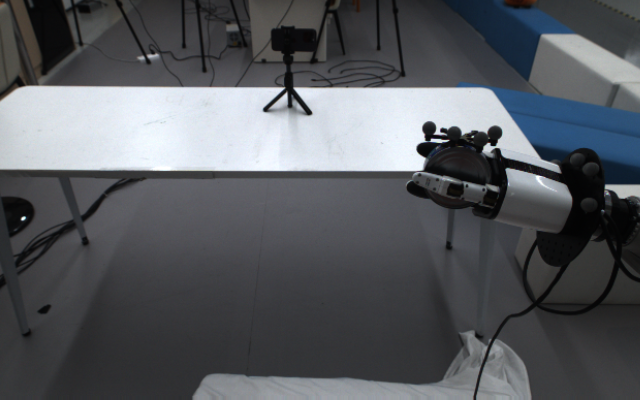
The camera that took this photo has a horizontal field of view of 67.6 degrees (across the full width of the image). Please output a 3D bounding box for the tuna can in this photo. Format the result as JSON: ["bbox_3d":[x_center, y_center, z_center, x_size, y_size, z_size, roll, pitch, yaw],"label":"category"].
[{"bbox_3d":[0.178,-0.035,0.633,0.085,0.085,0.034,9,23,10],"label":"tuna can"}]
